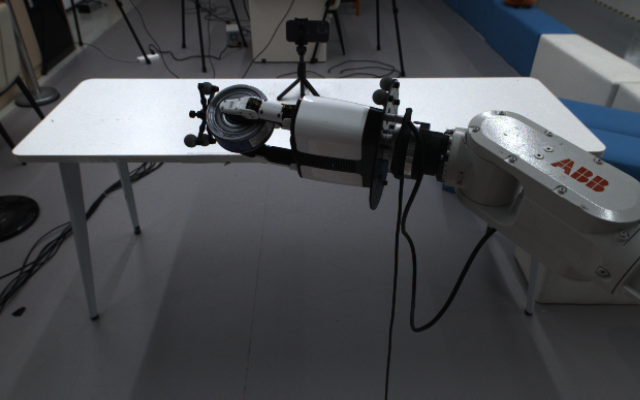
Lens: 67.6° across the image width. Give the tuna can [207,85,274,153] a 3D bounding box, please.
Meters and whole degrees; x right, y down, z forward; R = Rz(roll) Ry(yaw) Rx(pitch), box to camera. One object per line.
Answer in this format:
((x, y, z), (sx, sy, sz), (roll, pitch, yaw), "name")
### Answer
((-0.102, -0.108, 0.632), (0.085, 0.034, 0.085), (-2, 69, 6), "tuna can")
